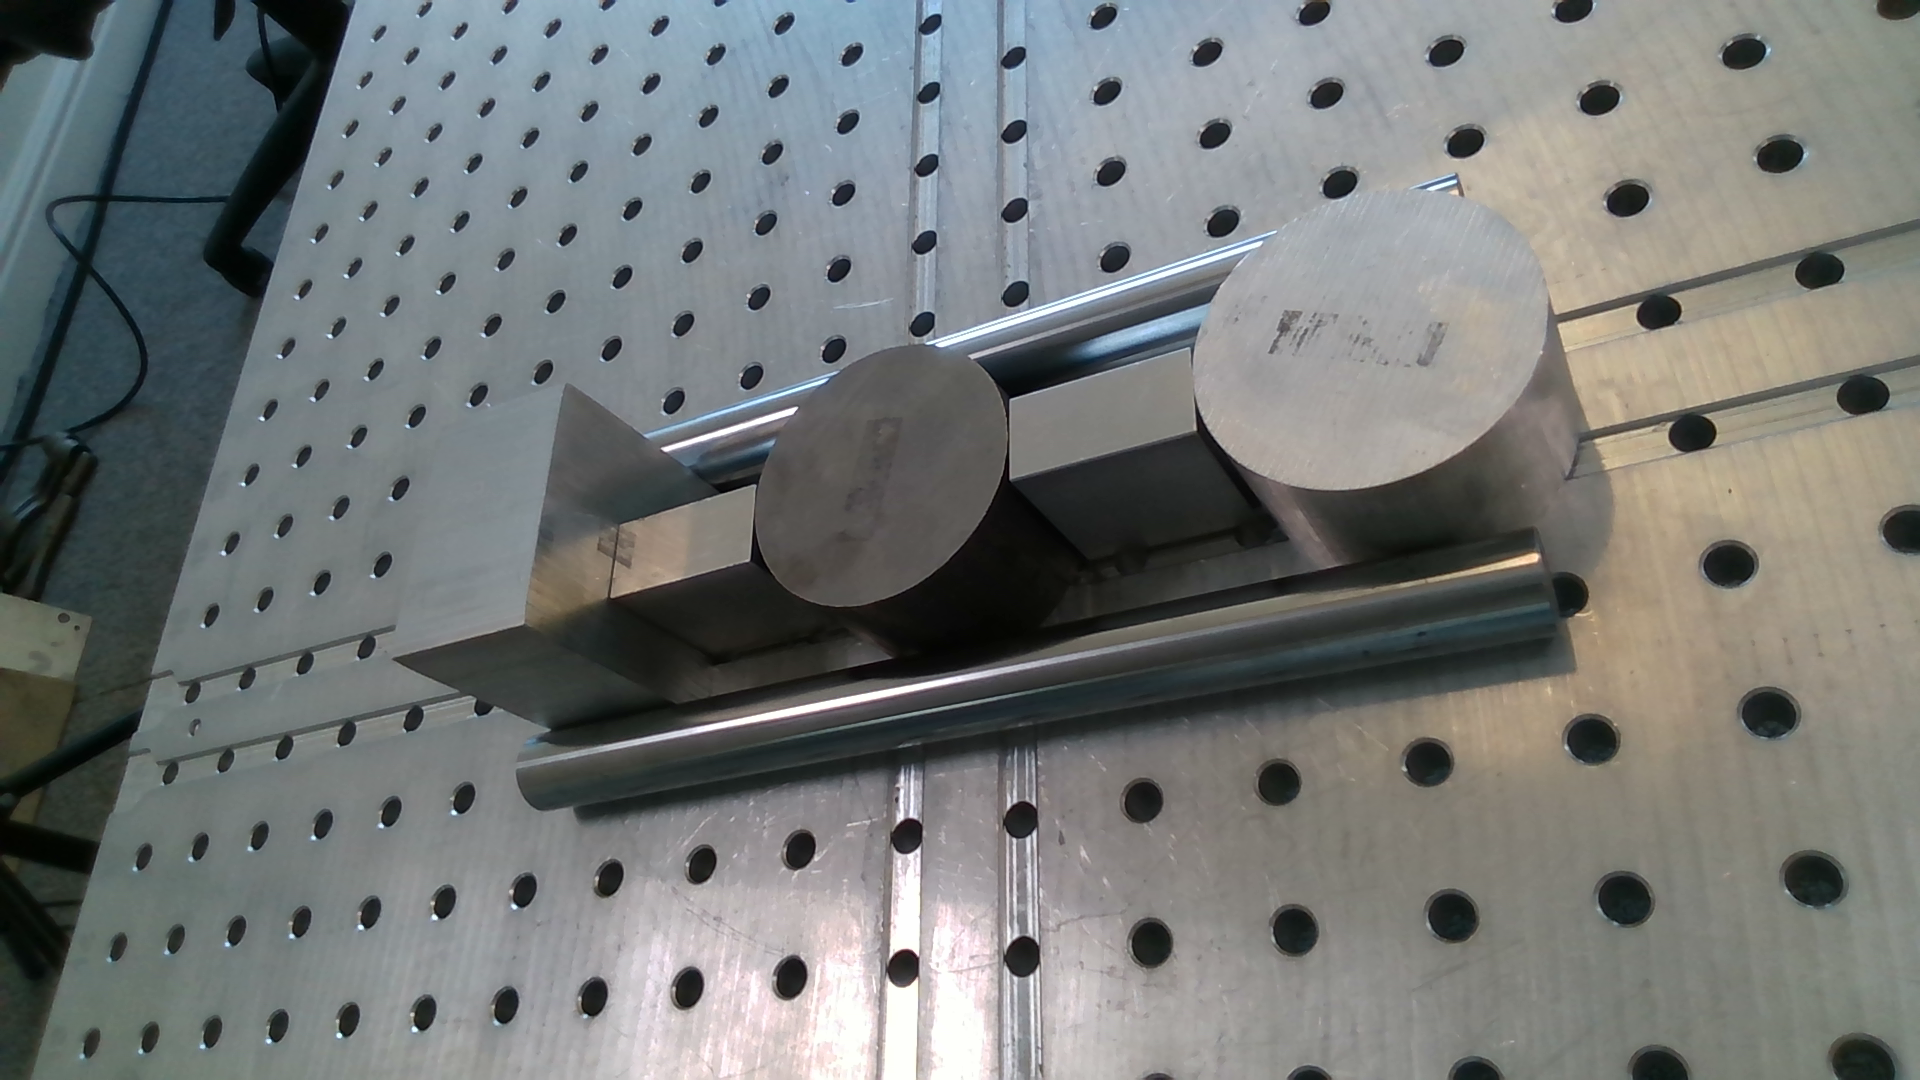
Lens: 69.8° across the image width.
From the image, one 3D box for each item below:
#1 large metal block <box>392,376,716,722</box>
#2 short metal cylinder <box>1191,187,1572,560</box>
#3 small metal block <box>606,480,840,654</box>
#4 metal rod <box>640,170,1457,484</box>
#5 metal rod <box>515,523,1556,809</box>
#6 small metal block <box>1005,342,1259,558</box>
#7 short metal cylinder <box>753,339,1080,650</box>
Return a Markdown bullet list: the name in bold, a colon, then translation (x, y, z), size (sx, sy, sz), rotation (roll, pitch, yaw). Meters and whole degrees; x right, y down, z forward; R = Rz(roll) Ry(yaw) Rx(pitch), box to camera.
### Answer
- **large metal block**: translation (-0.120, 0.009, 0.430), size (0.050, 0.080, 0.080), rotation (-14, 59, 25)
- **short metal cylinder**: translation (0.103, -0.037, 0.336), size (0.080, 0.050, 0.080), rotation (-14, 59, 25)
- **small metal block**: translation (-0.069, 0.010, 0.416), size (0.050, 0.050, 0.025), rotation (-14, 59, 25)
- **metal rod**: translation (0.000, -0.052, 0.422), size (0.300, 0.025, 0.025), rotation (-14, 59, 25)
- **metal rod**: translation (-0.001, 0.041, 0.374), size (0.300, 0.025, 0.025), rotation (-14, 59, 25)
- **small metal block**: translation (0.046, -0.022, 0.362), size (0.050, 0.050, 0.025), rotation (-14, 59, 25)
- **short metal cylinder**: translation (-0.011, -0.009, 0.392), size (0.080, 0.050, 0.080), rotation (-14, 59, 25)
